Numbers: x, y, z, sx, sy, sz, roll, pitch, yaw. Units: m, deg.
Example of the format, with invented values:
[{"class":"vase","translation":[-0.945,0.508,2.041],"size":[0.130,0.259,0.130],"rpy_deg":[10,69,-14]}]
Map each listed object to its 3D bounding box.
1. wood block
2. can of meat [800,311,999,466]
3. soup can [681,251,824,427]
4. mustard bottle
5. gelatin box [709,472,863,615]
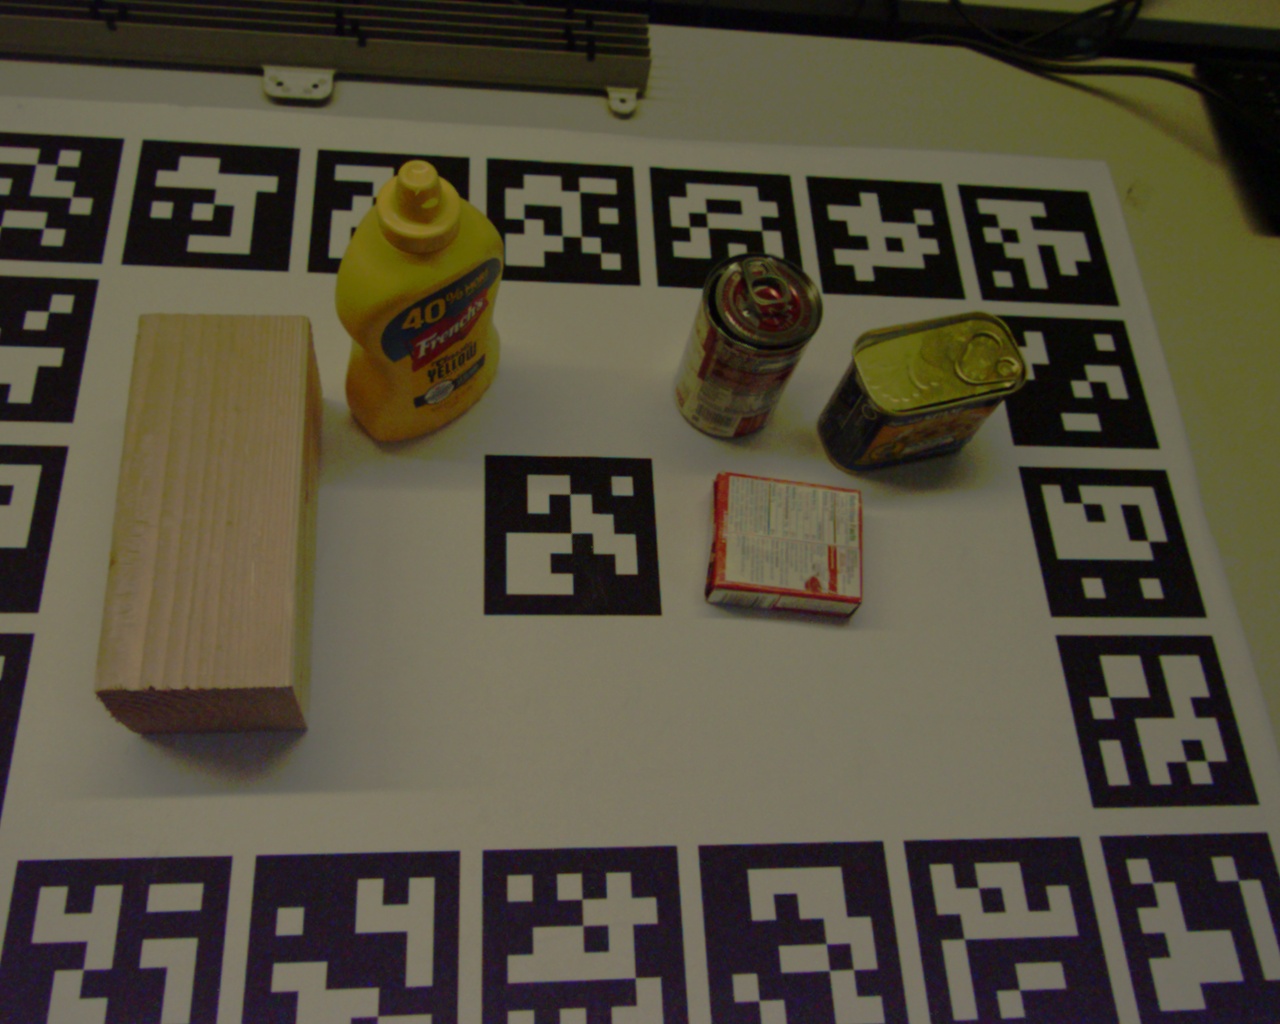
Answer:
[{"class":"wood block","translation":[-0.215,0.007,0.630],"size":[0.090,0.090,0.207],"rpy_deg":[1,61,-11]},{"class":"can of meat","translation":[0.161,-0.076,0.728],"size":[0.101,0.084,0.058],"rpy_deg":[-13,69,-17]},{"class":"soup can","translation":[0.066,-0.104,0.706],"size":[0.067,0.102,0.068],"rpy_deg":[3,67,-8]},{"class":"mustard bottle","translation":[-0.119,-0.108,0.646],"size":[0.095,0.192,0.059],"rpy_deg":[-25,72,-20]},{"class":"gelatin box","translation":[0.090,0.019,0.697],"size":[0.089,0.030,0.073],"rpy_deg":[8,67,-2]}]
